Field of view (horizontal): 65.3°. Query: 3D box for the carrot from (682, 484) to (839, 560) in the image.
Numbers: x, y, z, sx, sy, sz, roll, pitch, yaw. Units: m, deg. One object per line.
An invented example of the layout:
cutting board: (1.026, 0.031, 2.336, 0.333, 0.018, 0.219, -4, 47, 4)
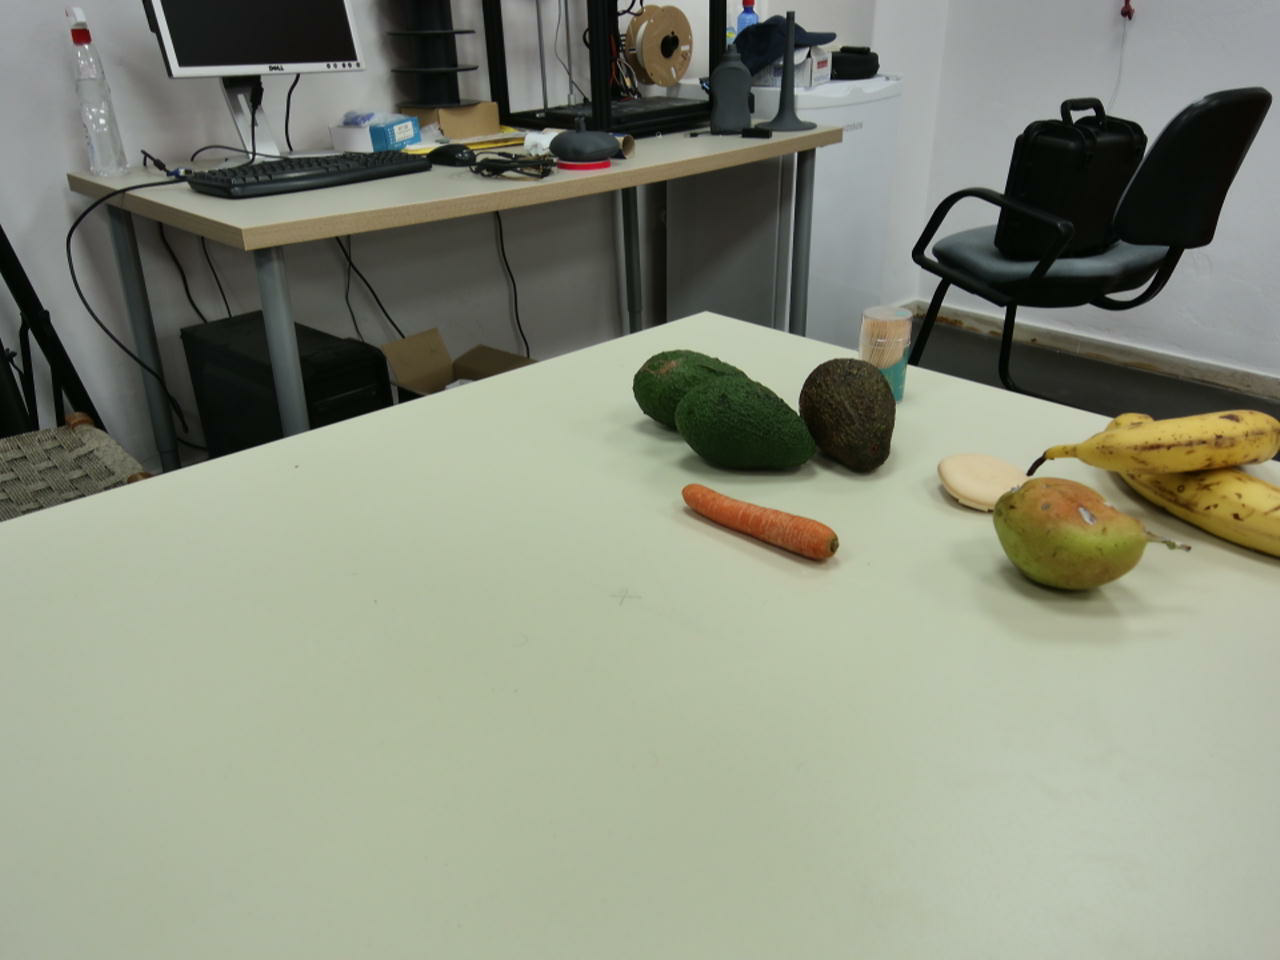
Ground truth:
carrot: (0.073, 0.024, 0.638, 0.122, 0.023, 0.024, 22, 32, 40)
